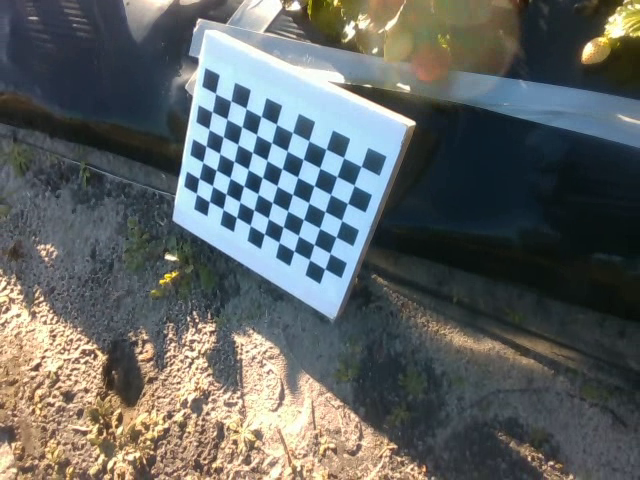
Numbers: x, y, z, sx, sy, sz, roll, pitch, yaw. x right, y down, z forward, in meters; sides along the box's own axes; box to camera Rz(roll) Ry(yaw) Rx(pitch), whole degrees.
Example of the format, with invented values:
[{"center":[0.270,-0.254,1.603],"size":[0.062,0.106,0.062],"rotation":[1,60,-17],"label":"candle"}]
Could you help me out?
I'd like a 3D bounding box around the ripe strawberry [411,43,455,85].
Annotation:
[{"center":[0.114,-0.186,0.701],"size":[0.048,0.064,0.045],"rotation":[33,-50,-14],"label":"ripe strawberry"}]
